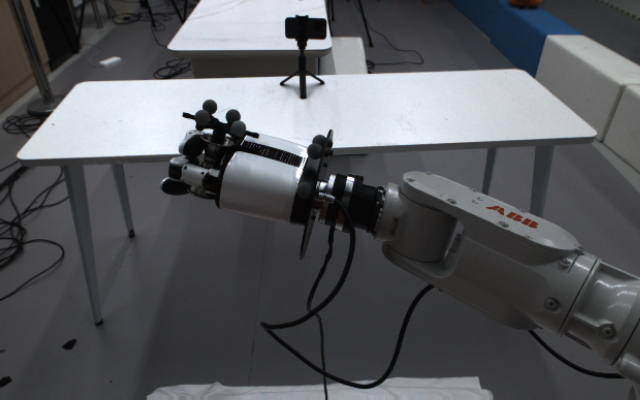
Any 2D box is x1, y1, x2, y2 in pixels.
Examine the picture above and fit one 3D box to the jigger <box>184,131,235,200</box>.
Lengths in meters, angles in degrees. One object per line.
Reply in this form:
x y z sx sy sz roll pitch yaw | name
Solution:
-0.132 -0.040 0.578 0.043 0.071 0.043 18 17 -6 | jigger
